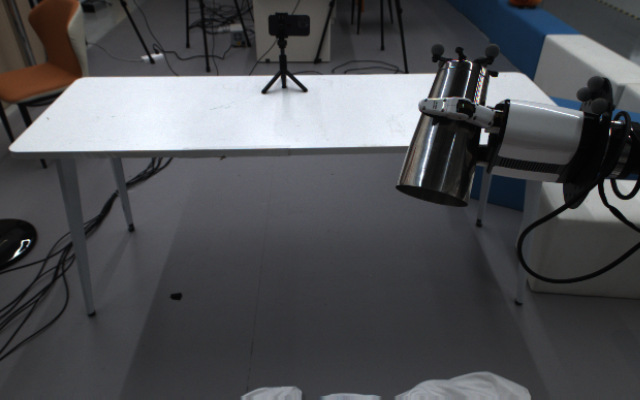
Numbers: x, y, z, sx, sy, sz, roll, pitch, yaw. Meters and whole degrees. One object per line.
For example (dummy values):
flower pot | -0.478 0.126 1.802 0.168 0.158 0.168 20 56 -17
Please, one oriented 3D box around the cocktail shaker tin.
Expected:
cocktail shaker tin | 0.163 -0.087 0.619 0.093 0.170 0.093 16 -6 2
